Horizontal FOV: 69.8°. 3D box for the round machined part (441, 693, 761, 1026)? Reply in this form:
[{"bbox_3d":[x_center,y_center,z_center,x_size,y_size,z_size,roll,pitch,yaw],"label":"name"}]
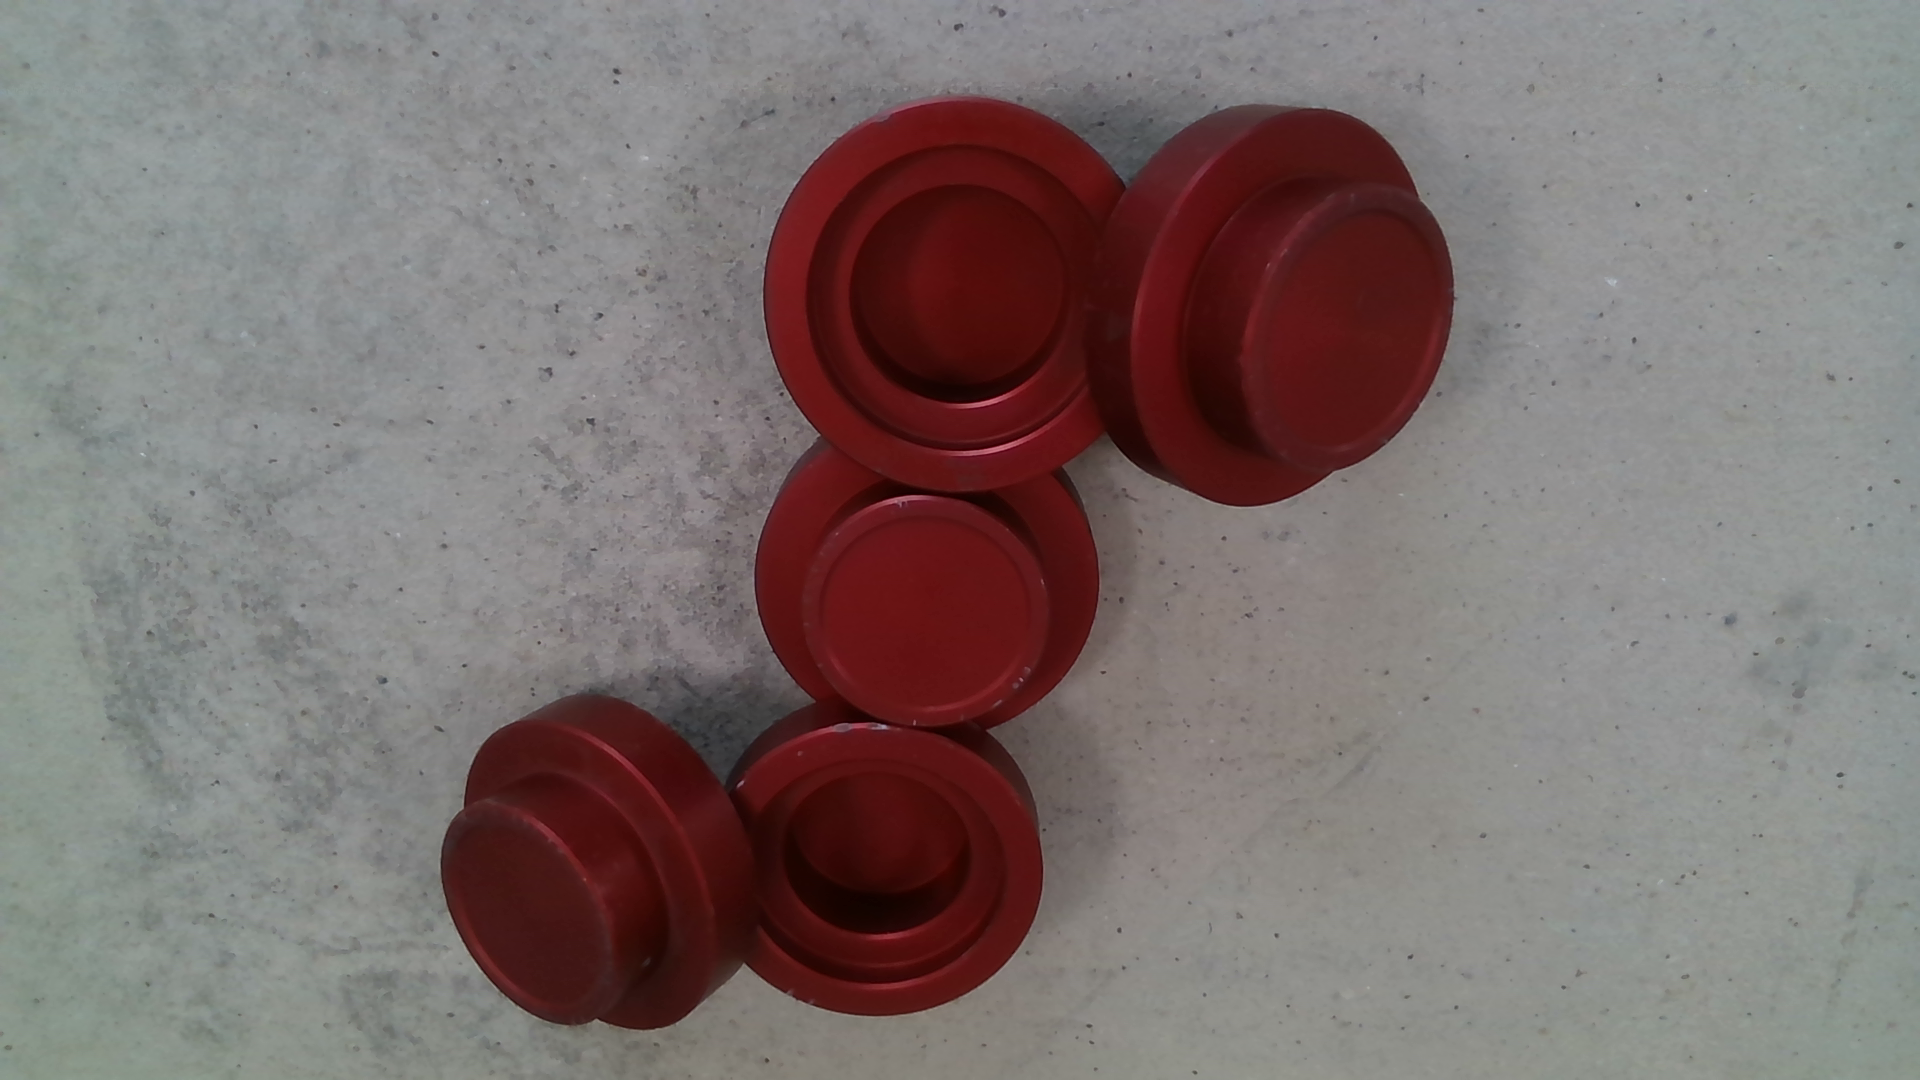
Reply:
[{"bbox_3d":[-0.109,0.097,0.396,0.098,0.042,0.098,11,112,27],"label":"round machined part"}]

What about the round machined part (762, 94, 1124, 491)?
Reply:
[{"bbox_3d":[0.000,-0.066,0.360,0.098,0.042,0.098,0,109,0],"label":"round machined part"}]

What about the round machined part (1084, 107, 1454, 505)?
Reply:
[{"bbox_3d":[0.082,-0.055,0.341,0.098,0.042,0.098,-12,114,-29],"label":"round machined part"}]

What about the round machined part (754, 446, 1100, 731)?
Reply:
[{"bbox_3d":[-0.009,0.013,0.388,0.098,0.042,0.098,-1,109,-2],"label":"round machined part"}]

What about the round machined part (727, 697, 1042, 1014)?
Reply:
[{"bbox_3d":[-0.025,0.090,0.417,0.098,0.042,0.098,0,109,0],"label":"round machined part"}]
